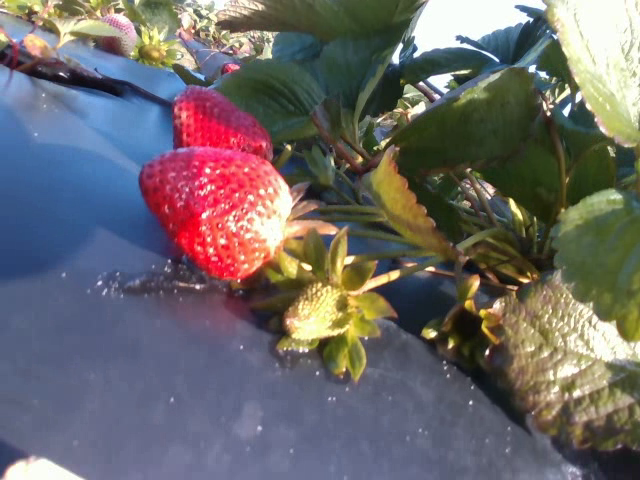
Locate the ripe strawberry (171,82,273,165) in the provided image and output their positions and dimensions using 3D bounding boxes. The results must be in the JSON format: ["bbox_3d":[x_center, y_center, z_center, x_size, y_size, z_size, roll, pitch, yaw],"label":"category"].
[{"bbox_3d":[-0.039,-0.038,0.243,0.048,0.054,0.039,-37,1,-37],"label":"ripe strawberry"}]

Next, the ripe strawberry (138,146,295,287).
[{"bbox_3d":[-0.030,-0.013,0.178,0.039,0.043,0.053,-38,-35,19],"label":"ripe strawberry"}]
